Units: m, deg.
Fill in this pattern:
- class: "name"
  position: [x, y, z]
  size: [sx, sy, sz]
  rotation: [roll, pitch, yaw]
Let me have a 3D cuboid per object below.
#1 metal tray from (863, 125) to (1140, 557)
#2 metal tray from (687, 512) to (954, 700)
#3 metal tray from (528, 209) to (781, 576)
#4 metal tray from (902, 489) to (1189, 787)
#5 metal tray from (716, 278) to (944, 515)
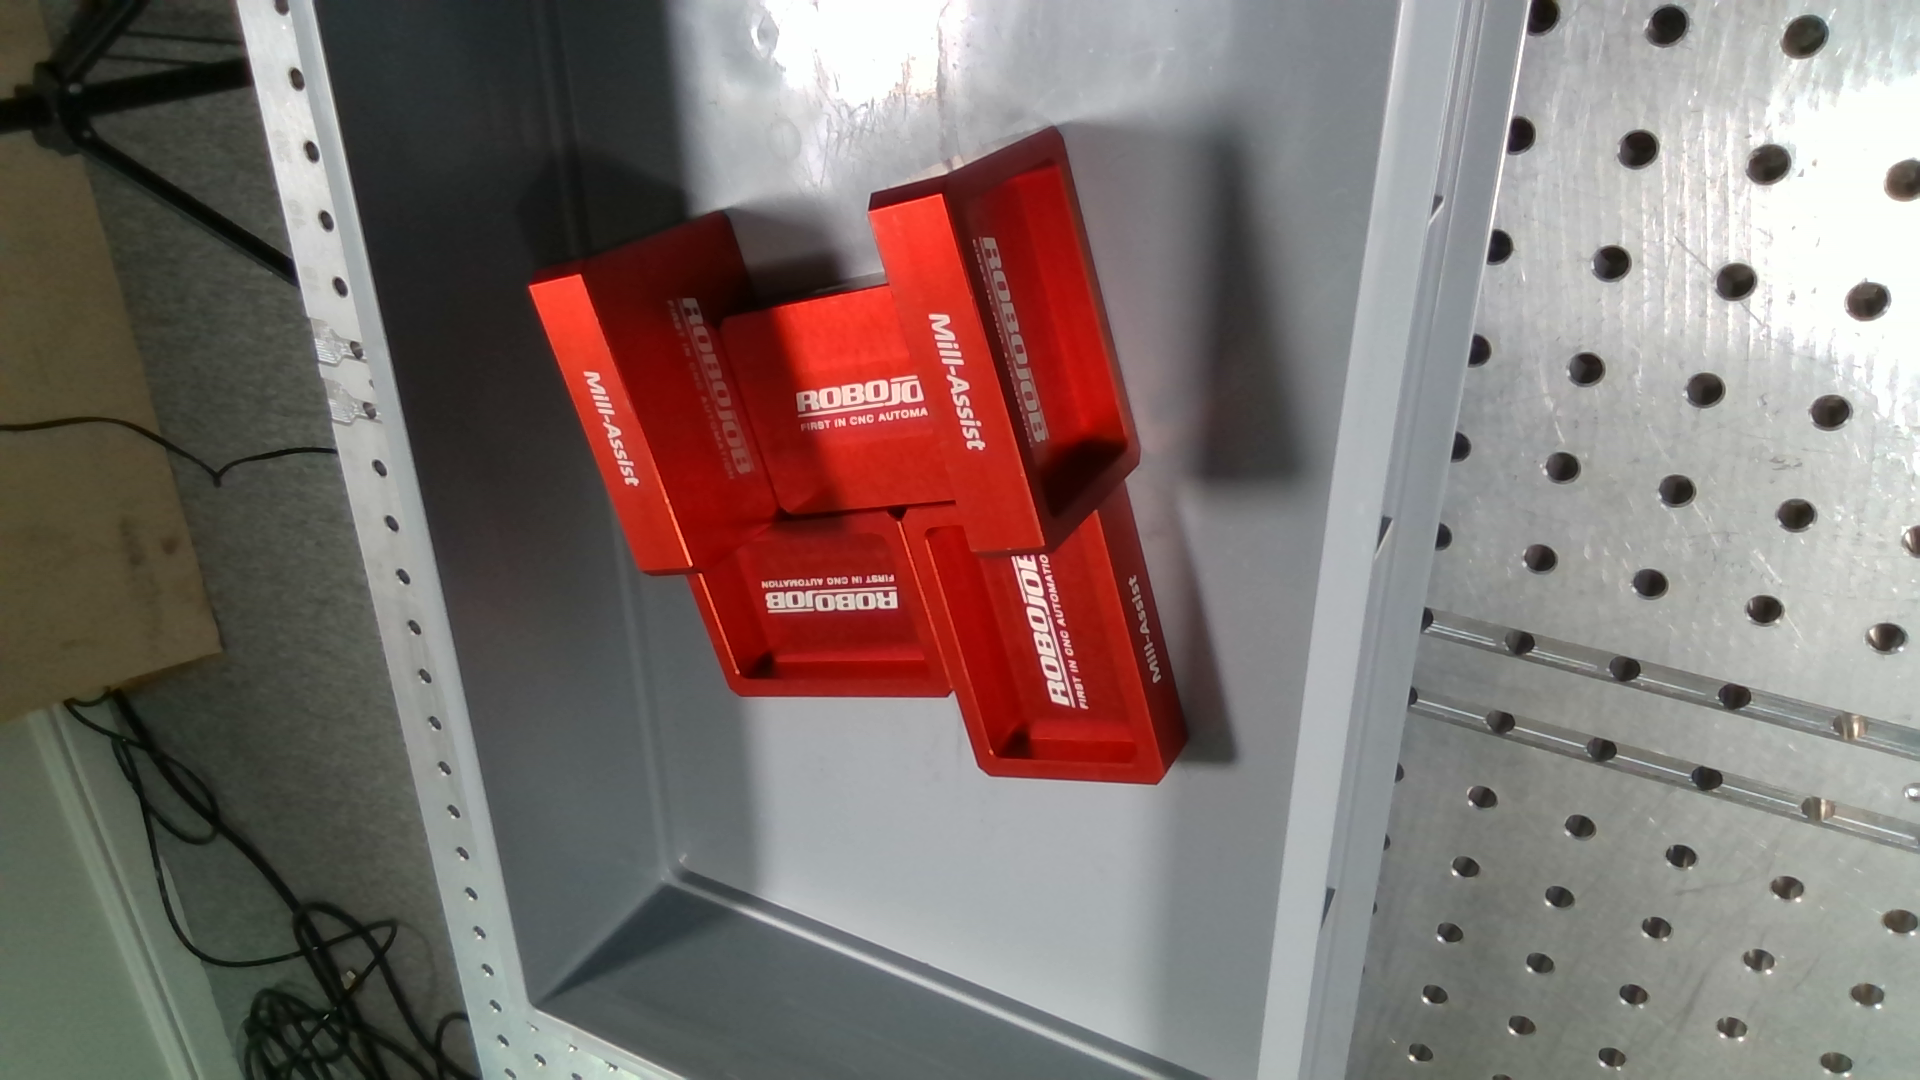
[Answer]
- class: "metal tray"
  position: [0.019, -0.070, 0.484]
  size: [0.030, 0.090, 0.130]
  rotation: [-4, 113, 33]
- class: "metal tray"
  position: [-0.062, 0.026, 0.627]
  size: [0.130, 0.030, 0.090]
  rotation: [-3, 113, 33]
- class: "metal tray"
  position: [-0.116, -0.061, 0.572]
  size: [0.030, 0.090, 0.130]
  rotation: [-3, 113, 33]
- class: "metal tray"
  position: [0.036, 0.038, 0.574]
  size: [0.090, 0.030, 0.130]
  rotation: [-3, 113, 33]
- class: "metal tray"
  position: [-0.029, -0.061, 0.558]
  size: [0.130, 0.030, 0.090]
  rotation: [-3, 113, 33]
